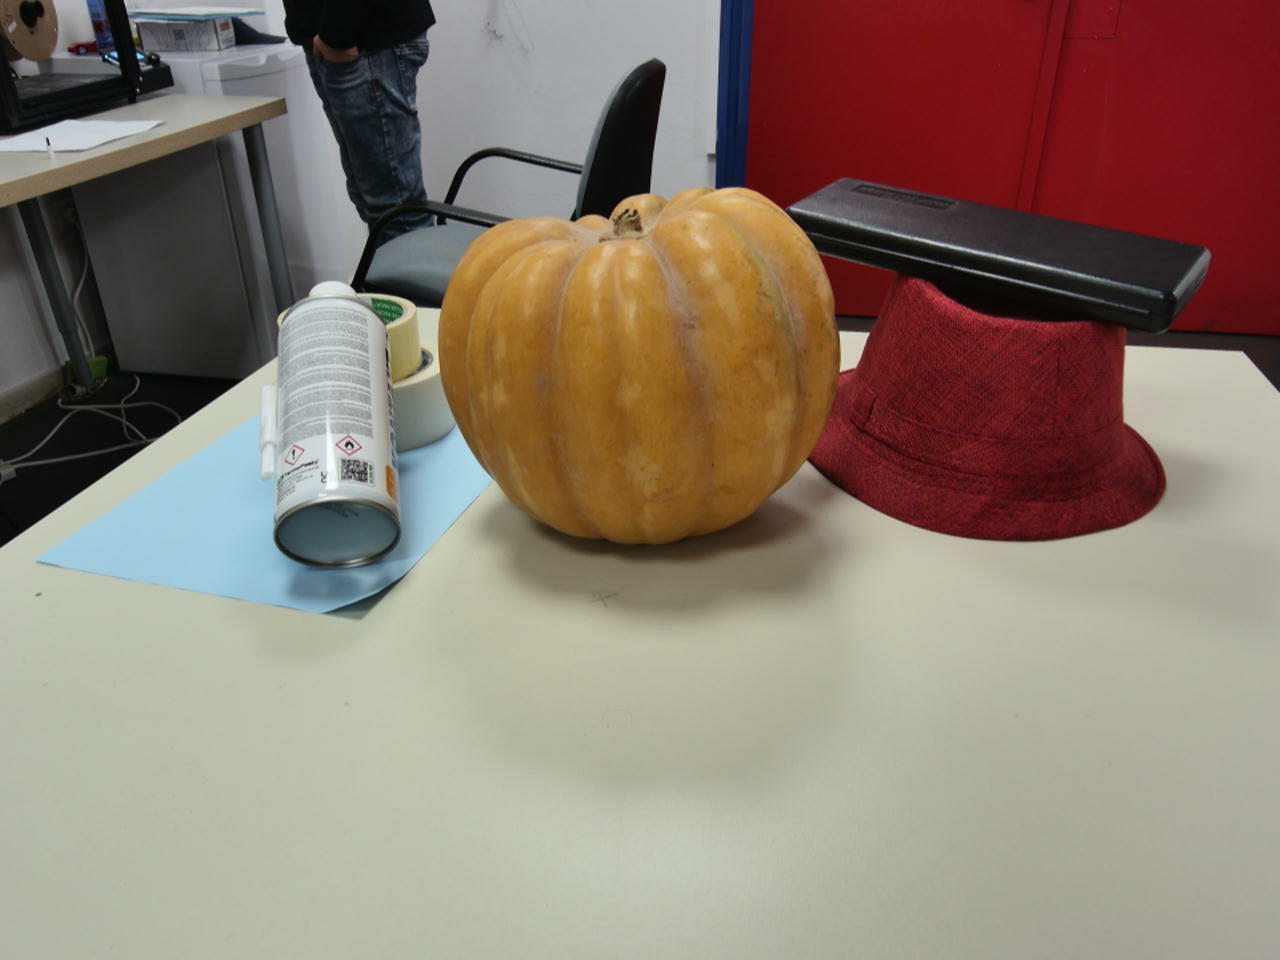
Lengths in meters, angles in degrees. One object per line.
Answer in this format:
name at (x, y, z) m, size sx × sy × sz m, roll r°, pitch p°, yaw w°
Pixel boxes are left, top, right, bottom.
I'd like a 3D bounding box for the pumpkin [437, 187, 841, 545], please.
pumpkin at (0.003, -0.067, 0.577) m, size 0.230 × 0.194 × 0.230 m, roll 0°, pitch 26°, yaw 0°
